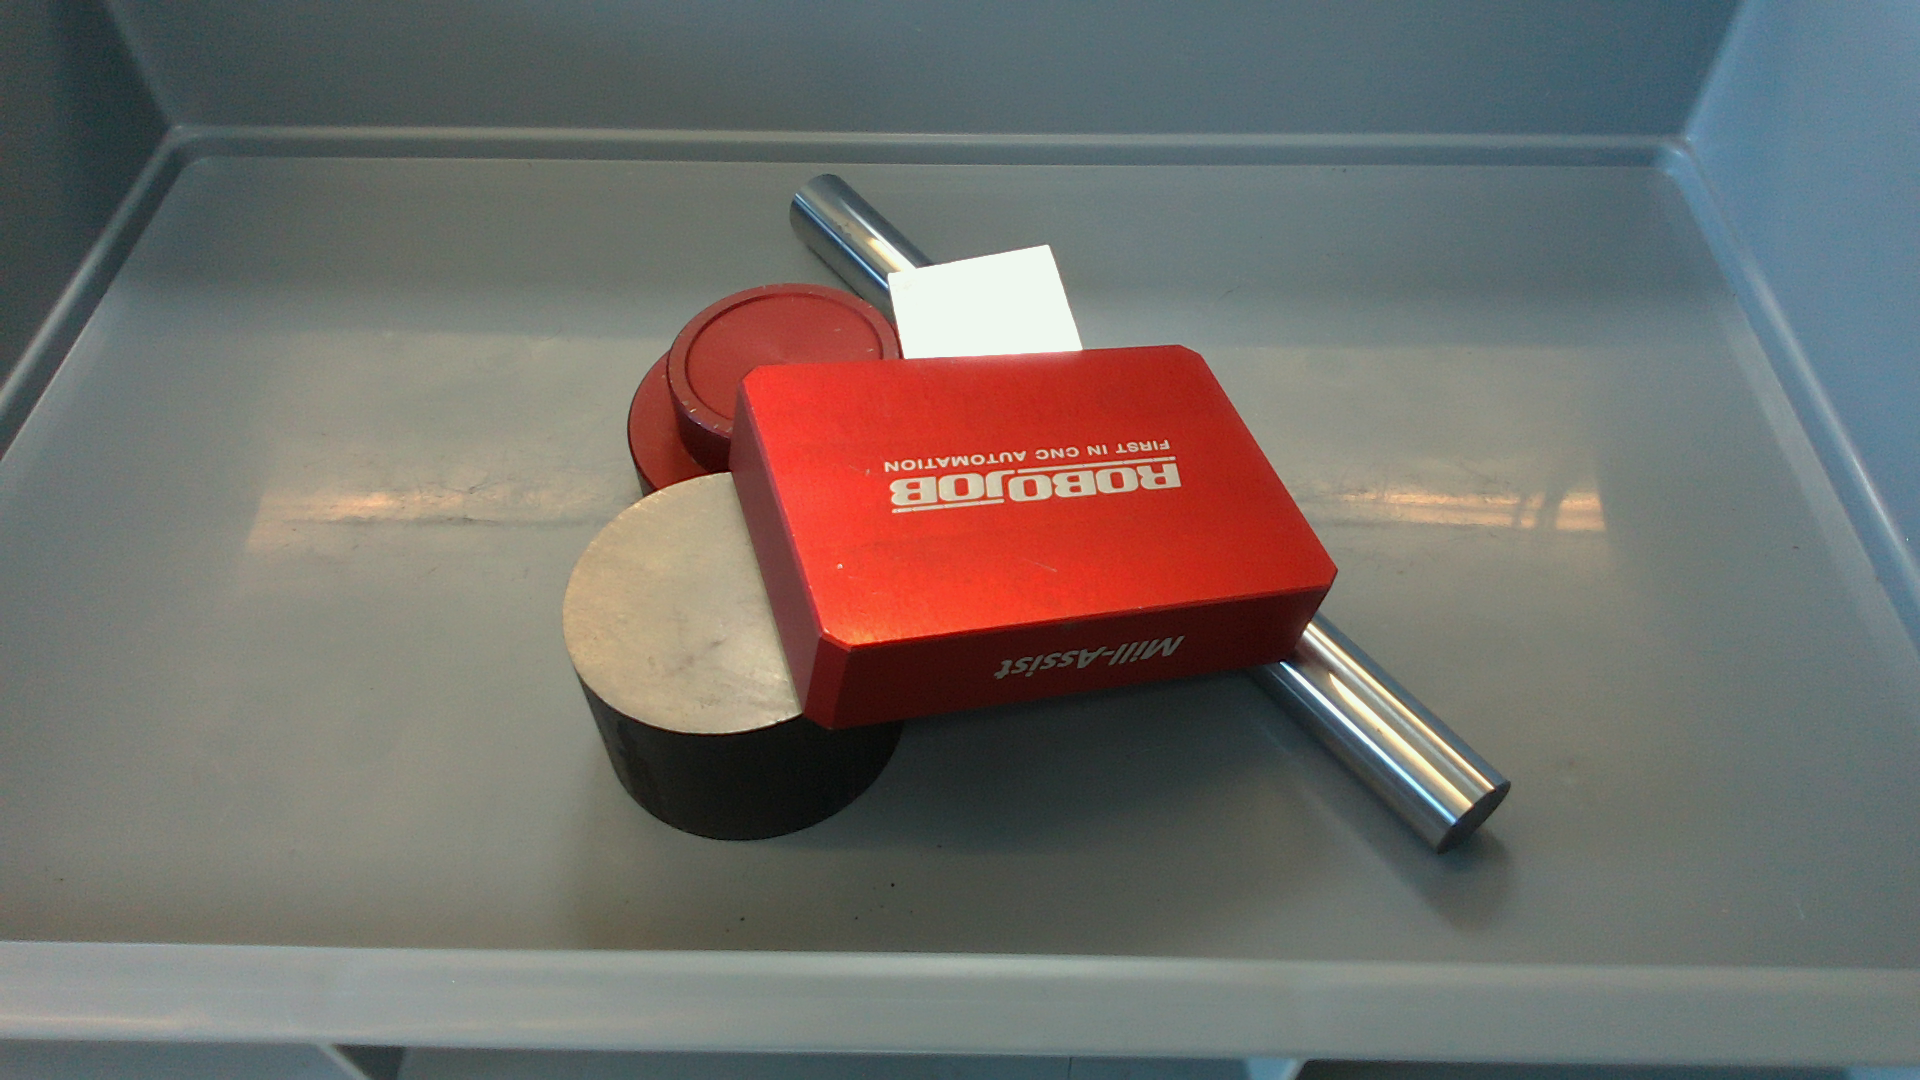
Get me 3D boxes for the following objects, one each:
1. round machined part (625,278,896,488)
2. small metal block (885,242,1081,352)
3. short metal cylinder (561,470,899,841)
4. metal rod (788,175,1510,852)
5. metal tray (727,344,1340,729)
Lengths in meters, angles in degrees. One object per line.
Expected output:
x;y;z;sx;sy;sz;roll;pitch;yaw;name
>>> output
-0.051;-0.041;0.412;0.098;0.042;0.098;-1;50;1;round machined part
0.008;-0.058;0.408;0.050;0.025;0.050;-11;53;-2;small metal block
-0.055;0.028;0.349;0.080;0.050;0.080;0;50;0;short metal cylinder
0.037;-0.026;0.412;0.025;0.025;0.299;-29;56;-22;metal rod
0.016;-0.006;0.342;0.130;0.030;0.090;-6;49;-21;metal tray
